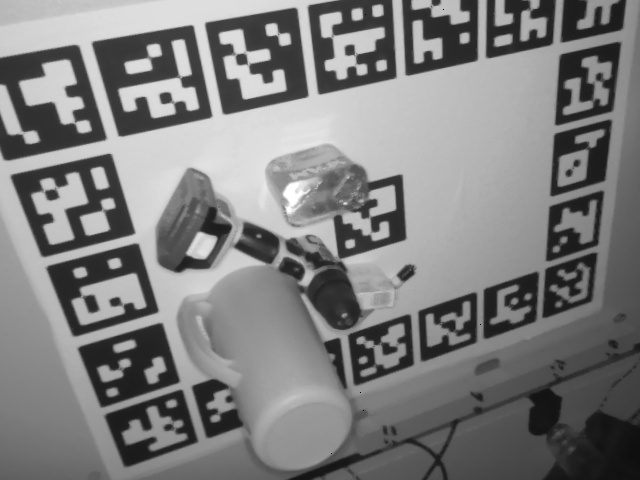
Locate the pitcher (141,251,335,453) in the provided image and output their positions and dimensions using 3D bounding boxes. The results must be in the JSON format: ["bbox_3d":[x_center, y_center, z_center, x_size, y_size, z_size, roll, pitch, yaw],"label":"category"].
[{"bbox_3d":[-0.089,0.116,0.767,0.191,0.241,0.132,17,105,-33],"label":"pitcher"}]

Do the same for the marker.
[{"bbox_3d":[0.074,0.072,0.926,0.121,0.019,0.020,-37,120,-2],"label":"marker"}]

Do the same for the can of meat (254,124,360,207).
[{"bbox_3d":[-0.017,-0.086,0.779,0.103,0.083,0.057,-14,120,-13],"label":"can of meat"}]

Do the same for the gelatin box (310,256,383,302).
[{"bbox_3d":[0.024,0.047,0.867,0.090,0.073,0.030,-3,112,-17],"label":"gelatin box"}]

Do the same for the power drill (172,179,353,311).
[{"bbox_3d":[-0.061,0.005,0.751,0.188,0.184,0.057,22,103,-21],"label":"power drill"}]
